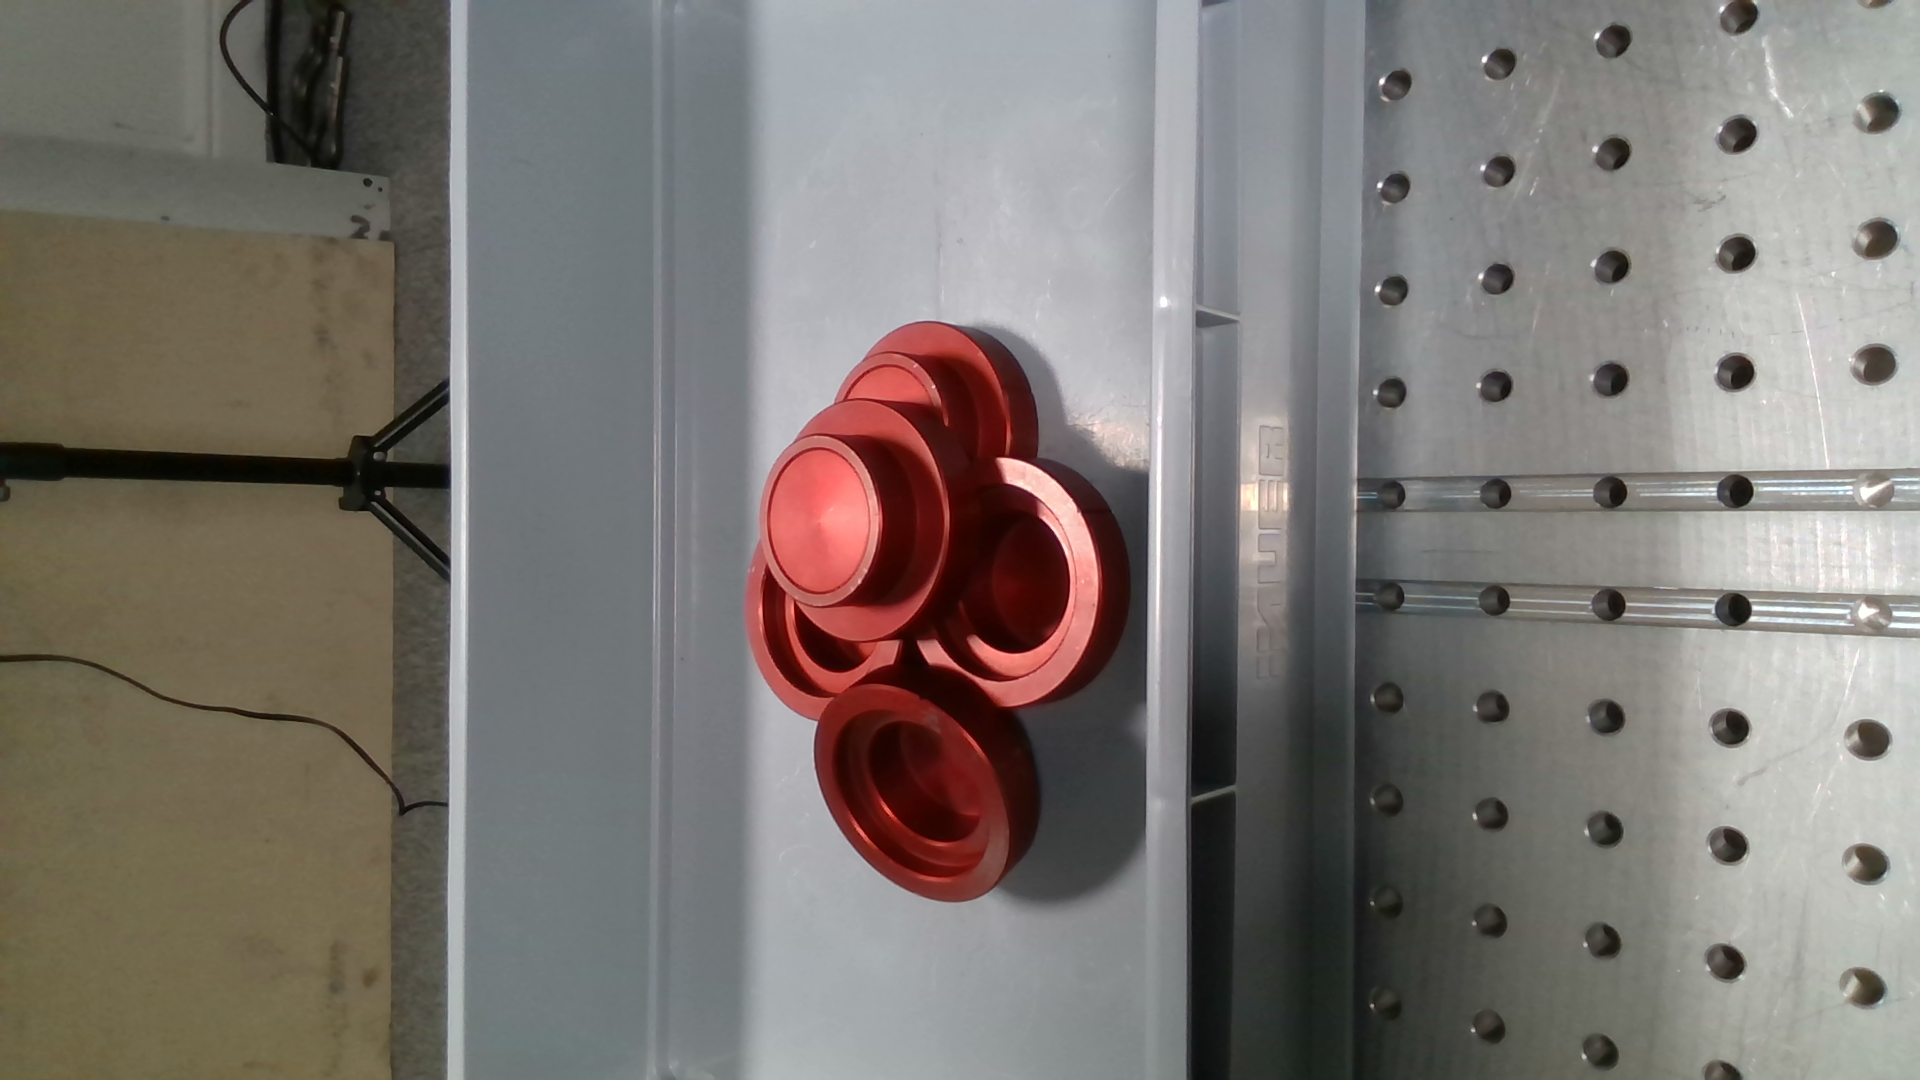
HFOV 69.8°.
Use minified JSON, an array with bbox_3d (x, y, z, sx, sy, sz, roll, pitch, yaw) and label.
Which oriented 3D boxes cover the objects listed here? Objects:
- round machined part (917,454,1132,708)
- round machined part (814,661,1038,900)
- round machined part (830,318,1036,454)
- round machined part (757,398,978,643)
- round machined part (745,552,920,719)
[{"bbox_3d":[0.027,0.016,0.547,0.098,0.042,0.098,0,91,40],"label":"round machined part"},{"bbox_3d":[-0.009,0.094,0.564,0.098,0.042,0.098,16,120,31],"label":"round machined part"},{"bbox_3d":[-0.019,-0.045,0.583,0.098,0.042,0.098,0,91,40],"label":"round machined part"},{"bbox_3d":[-0.043,-0.008,0.549,0.098,0.042,0.098,0,91,40],"label":"round machined part"},{"bbox_3d":[-0.048,0.029,0.610,0.098,0.042,0.098,0,91,40],"label":"round machined part"}]
